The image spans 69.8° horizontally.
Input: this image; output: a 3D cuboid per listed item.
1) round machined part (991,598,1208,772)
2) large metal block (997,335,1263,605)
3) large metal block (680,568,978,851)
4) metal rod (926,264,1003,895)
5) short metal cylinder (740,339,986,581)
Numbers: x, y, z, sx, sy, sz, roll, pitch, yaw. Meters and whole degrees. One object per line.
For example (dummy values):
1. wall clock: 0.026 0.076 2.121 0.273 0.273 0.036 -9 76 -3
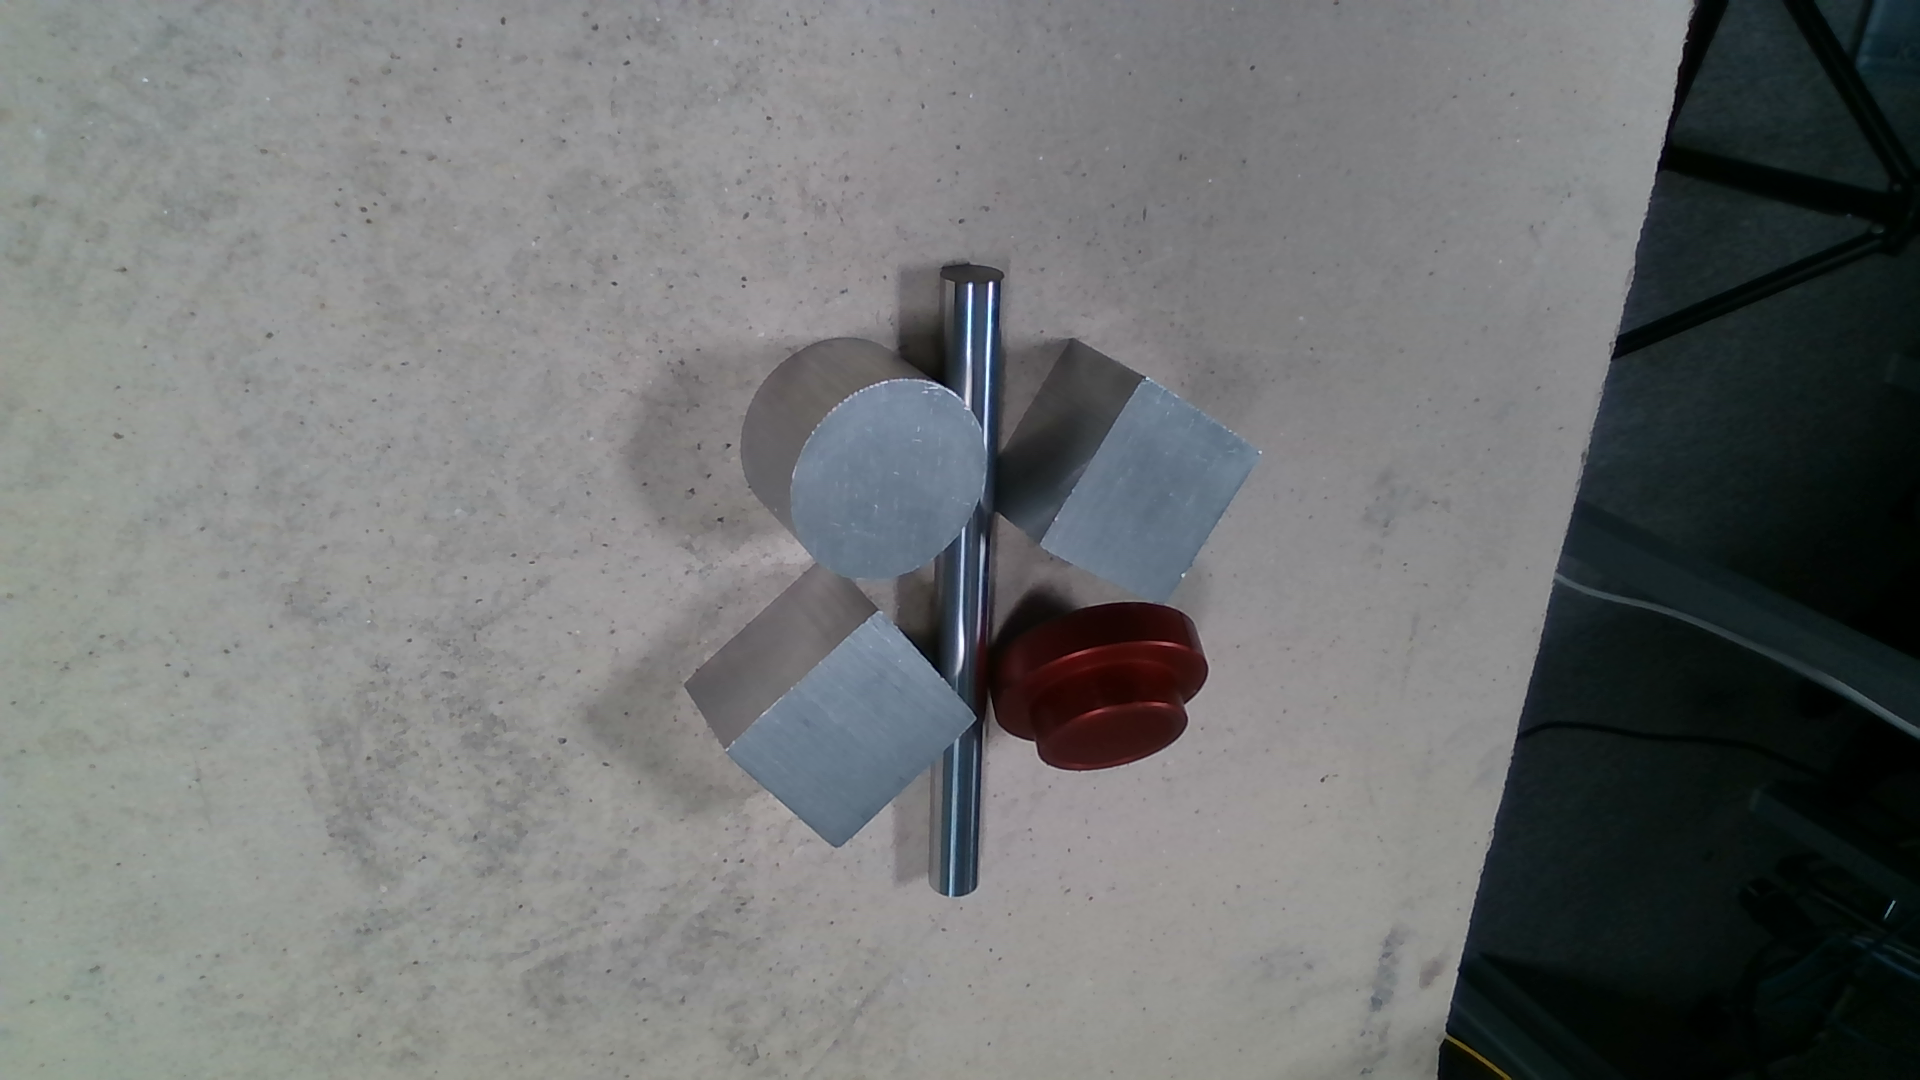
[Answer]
1. round machined part: 0.064 0.070 0.617 0.098 0.042 0.098 -9 146 -6
2. large metal block: 0.068 -0.028 0.589 0.080 0.050 0.080 26 100 -38
3. large metal block: -0.053 0.067 0.568 0.080 0.050 0.080 -42 129 -5
4. metal rod: 0.000 0.031 0.599 0.025 0.025 0.301 -13 121 -26
5. short metal cylinder: -0.037 -0.031 0.525 0.080 0.050 0.080 -14 122 -25
